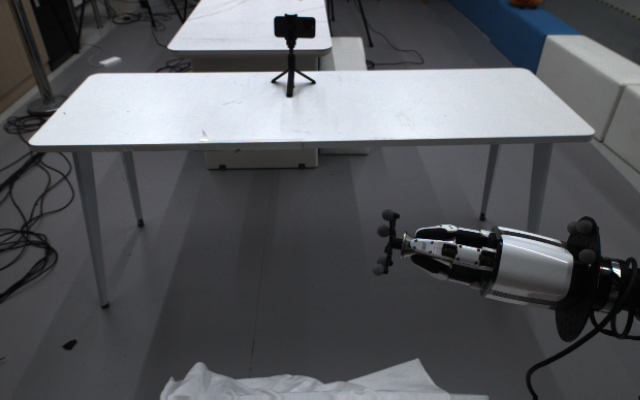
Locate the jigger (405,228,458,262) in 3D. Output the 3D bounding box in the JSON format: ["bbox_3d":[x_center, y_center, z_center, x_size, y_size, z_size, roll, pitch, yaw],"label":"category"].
[{"bbox_3d":[0.153,0.063,0.658,0.071,0.043,0.043,8,35,14],"label":"jigger"}]
